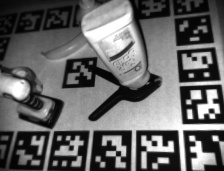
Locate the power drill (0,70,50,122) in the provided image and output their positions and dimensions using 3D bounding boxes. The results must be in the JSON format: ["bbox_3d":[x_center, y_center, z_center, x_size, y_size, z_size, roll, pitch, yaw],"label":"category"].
[{"bbox_3d":[-0.253,0.020,0.523,0.183,0.189,0.057,8,62,20],"label":"power drill"}]

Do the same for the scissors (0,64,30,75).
[{"bbox_3d":[-0.312,-0.054,0.583,0.201,0.016,0.088,22,78,16],"label":"scissors"}]

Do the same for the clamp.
[{"bbox_3d":[0.020,-0.021,0.575,0.202,0.037,0.164,-9,67,8],"label":"clamp"}]

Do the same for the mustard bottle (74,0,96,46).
[{"bbox_3d":[-0.059,-0.182,0.599,0.095,0.193,0.058,10,69,17],"label":"mustard bottle"}]

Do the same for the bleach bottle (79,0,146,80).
[{"bbox_3d":[0.030,-0.079,0.480,0.102,0.254,0.067,-24,59,11],"label":"bleach bottle"}]

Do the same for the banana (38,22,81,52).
[{"bbox_3d":[-0.147,-0.162,0.686,0.197,0.039,0.073,-39,47,-5],"label":"banana"}]

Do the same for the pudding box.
[{"bbox_3d":[-0.288,-0.023,0.636,0.113,0.091,0.038,0,60,14],"label":"pudding box"}]
